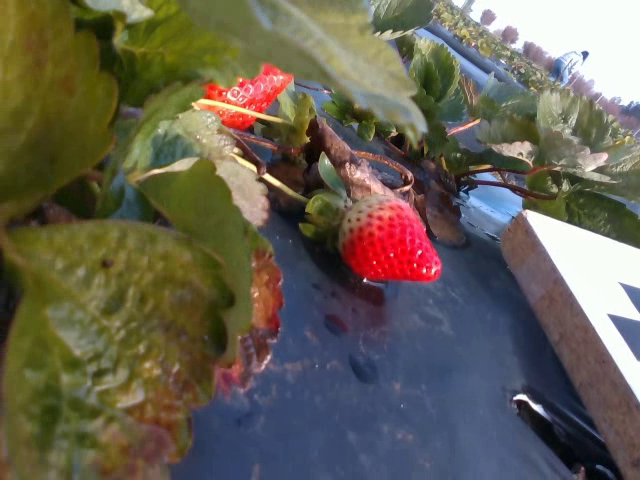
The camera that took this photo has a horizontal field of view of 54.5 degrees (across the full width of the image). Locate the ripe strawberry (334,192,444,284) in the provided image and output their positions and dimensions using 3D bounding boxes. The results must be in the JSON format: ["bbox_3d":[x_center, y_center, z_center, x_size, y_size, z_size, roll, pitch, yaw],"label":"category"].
[{"bbox_3d":[0.025,0.001,0.211,0.043,0.030,0.035,44,34,20],"label":"ripe strawberry"}]

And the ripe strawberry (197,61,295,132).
[{"bbox_3d":[-0.032,-0.065,0.239,0.048,0.040,0.032,-24,-36,-4],"label":"ripe strawberry"}]
